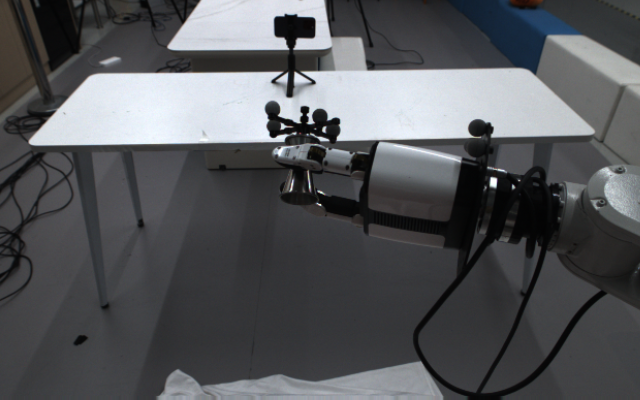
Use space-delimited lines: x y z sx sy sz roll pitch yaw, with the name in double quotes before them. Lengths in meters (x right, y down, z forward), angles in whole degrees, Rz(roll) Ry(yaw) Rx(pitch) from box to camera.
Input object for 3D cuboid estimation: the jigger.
"jigger" -0.022 -0.034 0.528 0.043 0.043 0.071 3 72 1
